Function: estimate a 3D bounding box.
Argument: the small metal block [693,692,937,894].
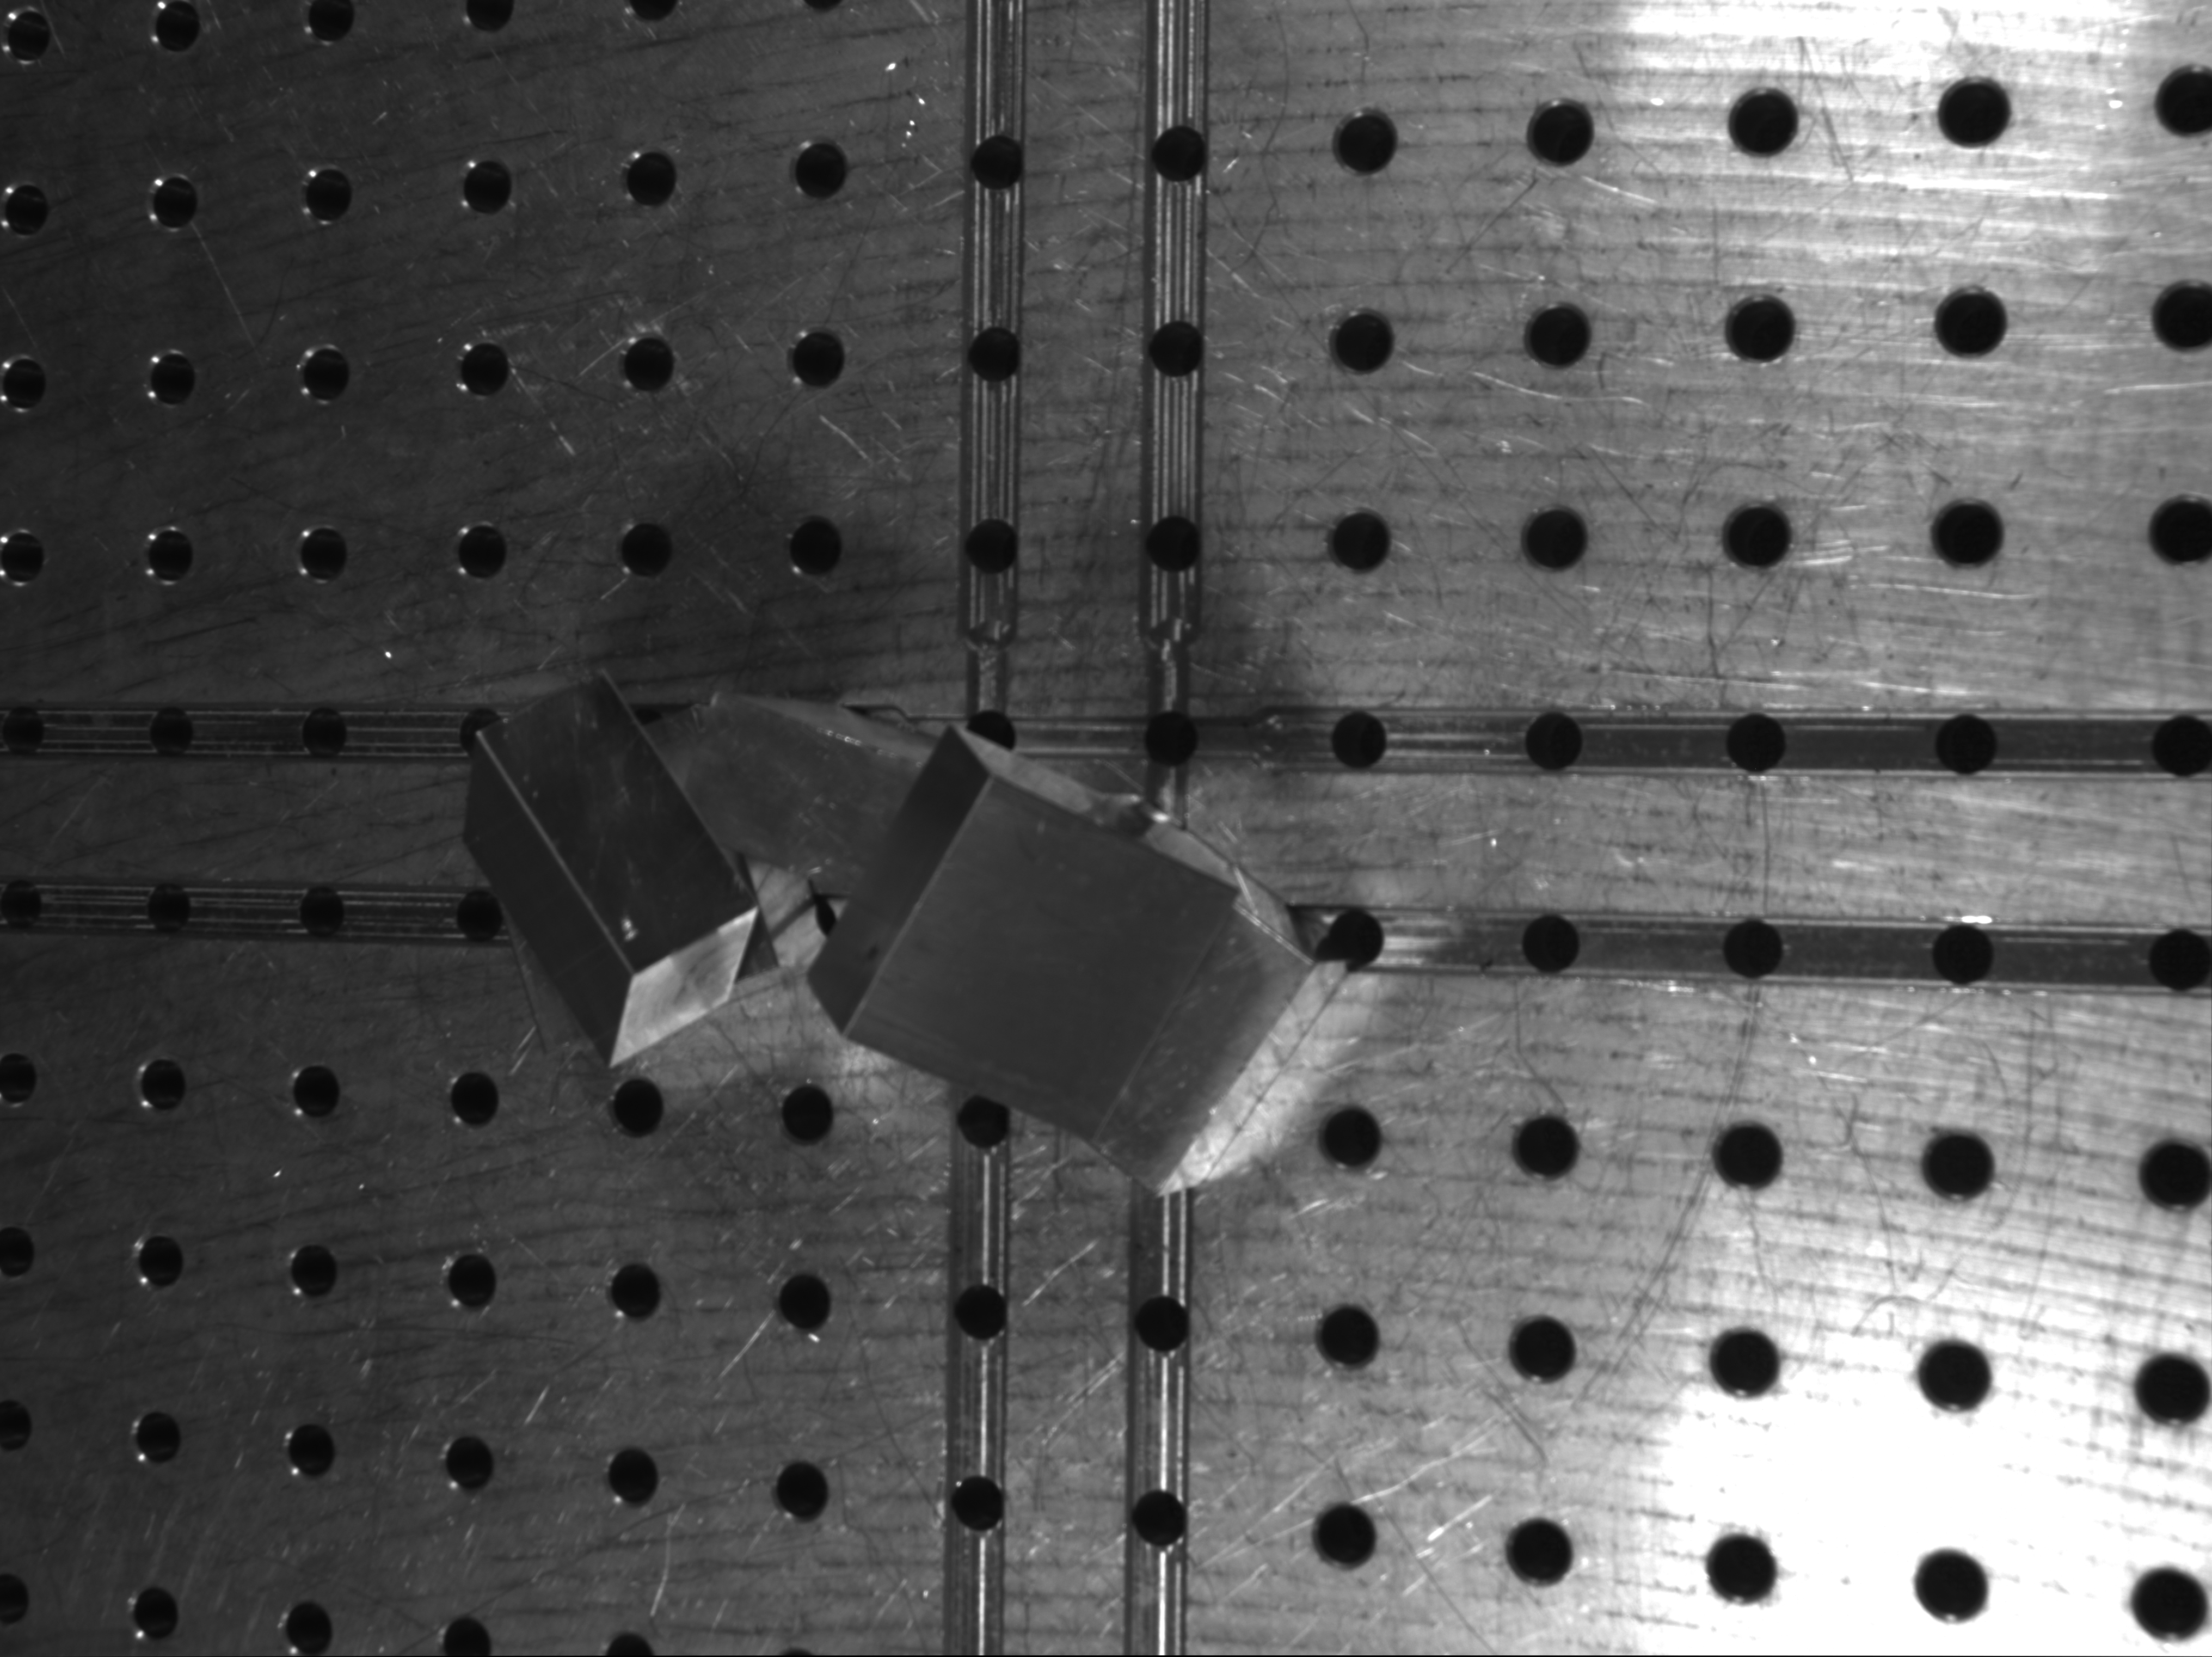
[{"bbox_3d":[-0.039,-0.004,0.648,0.050,0.050,0.025,20,96,19],"label":"small metal block"}]

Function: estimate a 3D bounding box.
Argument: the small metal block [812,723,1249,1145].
[{"bbox_3d":[-0.013,0.018,0.610,0.050,0.025,0.050,25,101,-27],"label":"small metal block"}]

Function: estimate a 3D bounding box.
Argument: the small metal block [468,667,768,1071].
[{"bbox_3d":[-0.086,0.008,0.634,0.025,0.050,0.050,-30,77,-22],"label":"small metal block"}]

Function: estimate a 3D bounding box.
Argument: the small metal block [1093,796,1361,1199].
[{"bbox_3d":[0.008,0.029,0.644,0.050,0.025,0.050,37,102,16],"label":"small metal block"}]

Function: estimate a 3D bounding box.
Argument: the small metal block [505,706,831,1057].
[{"bbox_3d":[-0.083,0.010,0.677,0.050,0.025,0.050,-21,83,18],"label":"small metal block"}]
